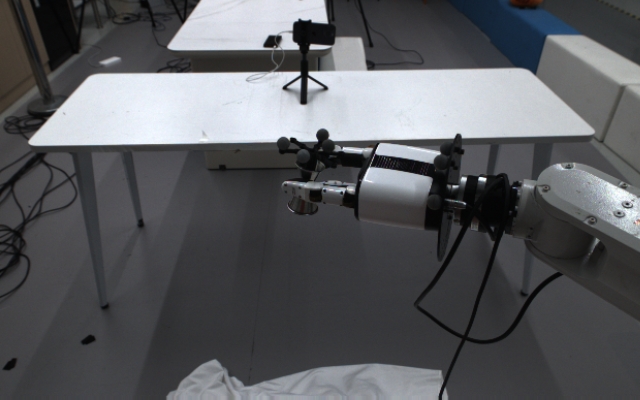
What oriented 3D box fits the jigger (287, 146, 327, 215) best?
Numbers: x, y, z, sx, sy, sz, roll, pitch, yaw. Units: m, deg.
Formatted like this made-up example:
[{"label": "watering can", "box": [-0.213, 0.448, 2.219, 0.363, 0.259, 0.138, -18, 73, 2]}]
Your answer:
[{"label": "jigger", "box": [-0.019, -0.020, 0.657, 0.043, 0.071, 0.043, 9, 30, -5]}]
